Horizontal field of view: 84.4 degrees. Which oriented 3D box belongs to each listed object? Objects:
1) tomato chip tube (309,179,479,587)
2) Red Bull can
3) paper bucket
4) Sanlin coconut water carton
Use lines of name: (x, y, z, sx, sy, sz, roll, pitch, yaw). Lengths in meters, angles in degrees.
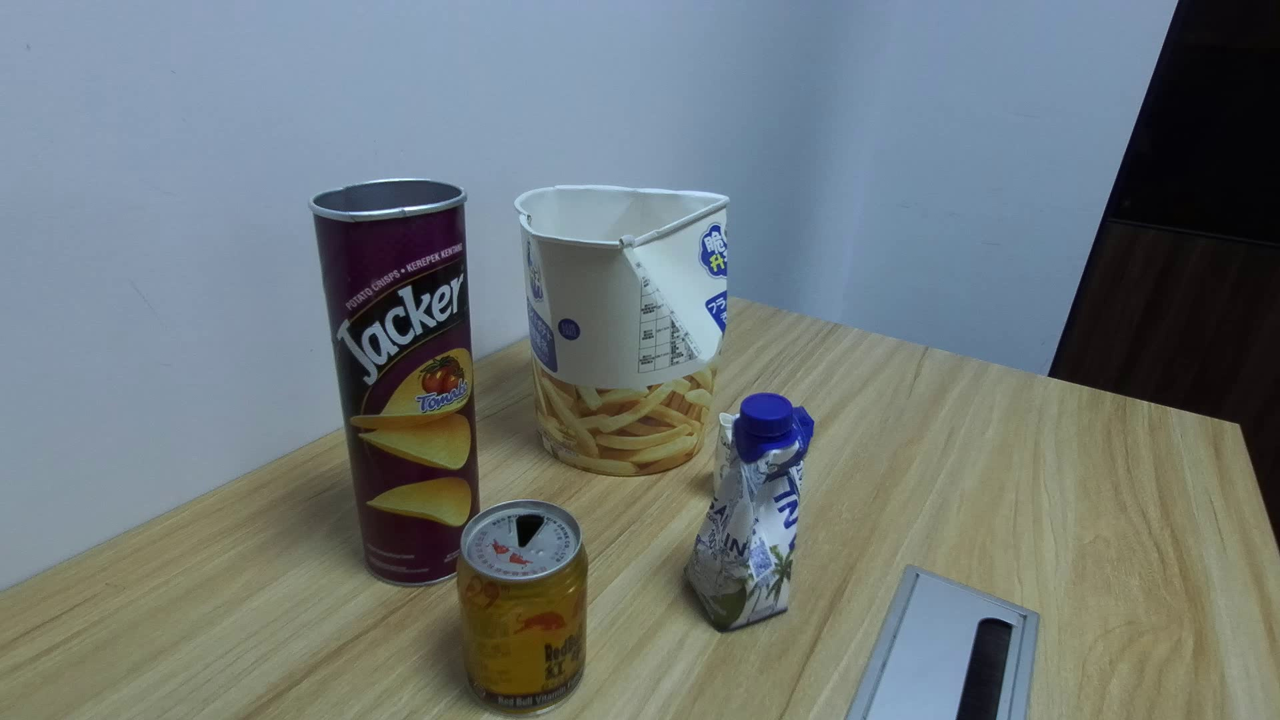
tomato chip tube: (-0.136, 0.018, 0.421, 0.080, 0.234, 0.076, -8, 28, -22)
Red Bull can: (-0.060, 0.128, 0.367, 0.068, 0.093, 0.068, 3, 24, -1)
paper bucket: (-0.012, -0.023, 0.565, 0.169, 0.202, 0.162, 2, 28, 2)
Sanlin coconut water carton: (0.075, 0.088, 0.412, 0.069, 0.144, 0.056, -1, 31, -28)
